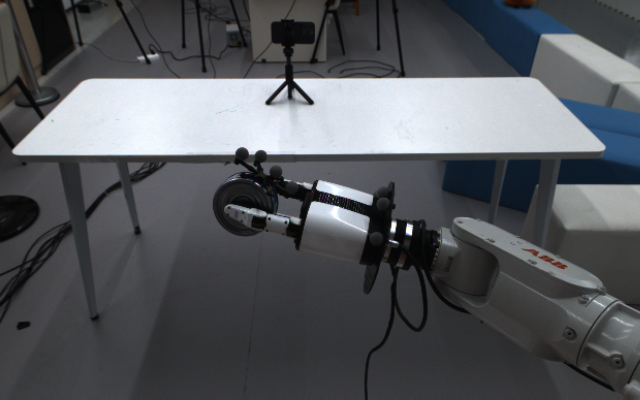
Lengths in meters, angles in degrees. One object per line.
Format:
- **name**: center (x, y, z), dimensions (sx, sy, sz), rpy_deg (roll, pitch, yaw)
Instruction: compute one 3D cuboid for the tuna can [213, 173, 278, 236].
- **tuna can**: center (-0.099, 0.013, 0.663), dimensions (0.085, 0.085, 0.034), rpy_deg (7, 19, 6)
